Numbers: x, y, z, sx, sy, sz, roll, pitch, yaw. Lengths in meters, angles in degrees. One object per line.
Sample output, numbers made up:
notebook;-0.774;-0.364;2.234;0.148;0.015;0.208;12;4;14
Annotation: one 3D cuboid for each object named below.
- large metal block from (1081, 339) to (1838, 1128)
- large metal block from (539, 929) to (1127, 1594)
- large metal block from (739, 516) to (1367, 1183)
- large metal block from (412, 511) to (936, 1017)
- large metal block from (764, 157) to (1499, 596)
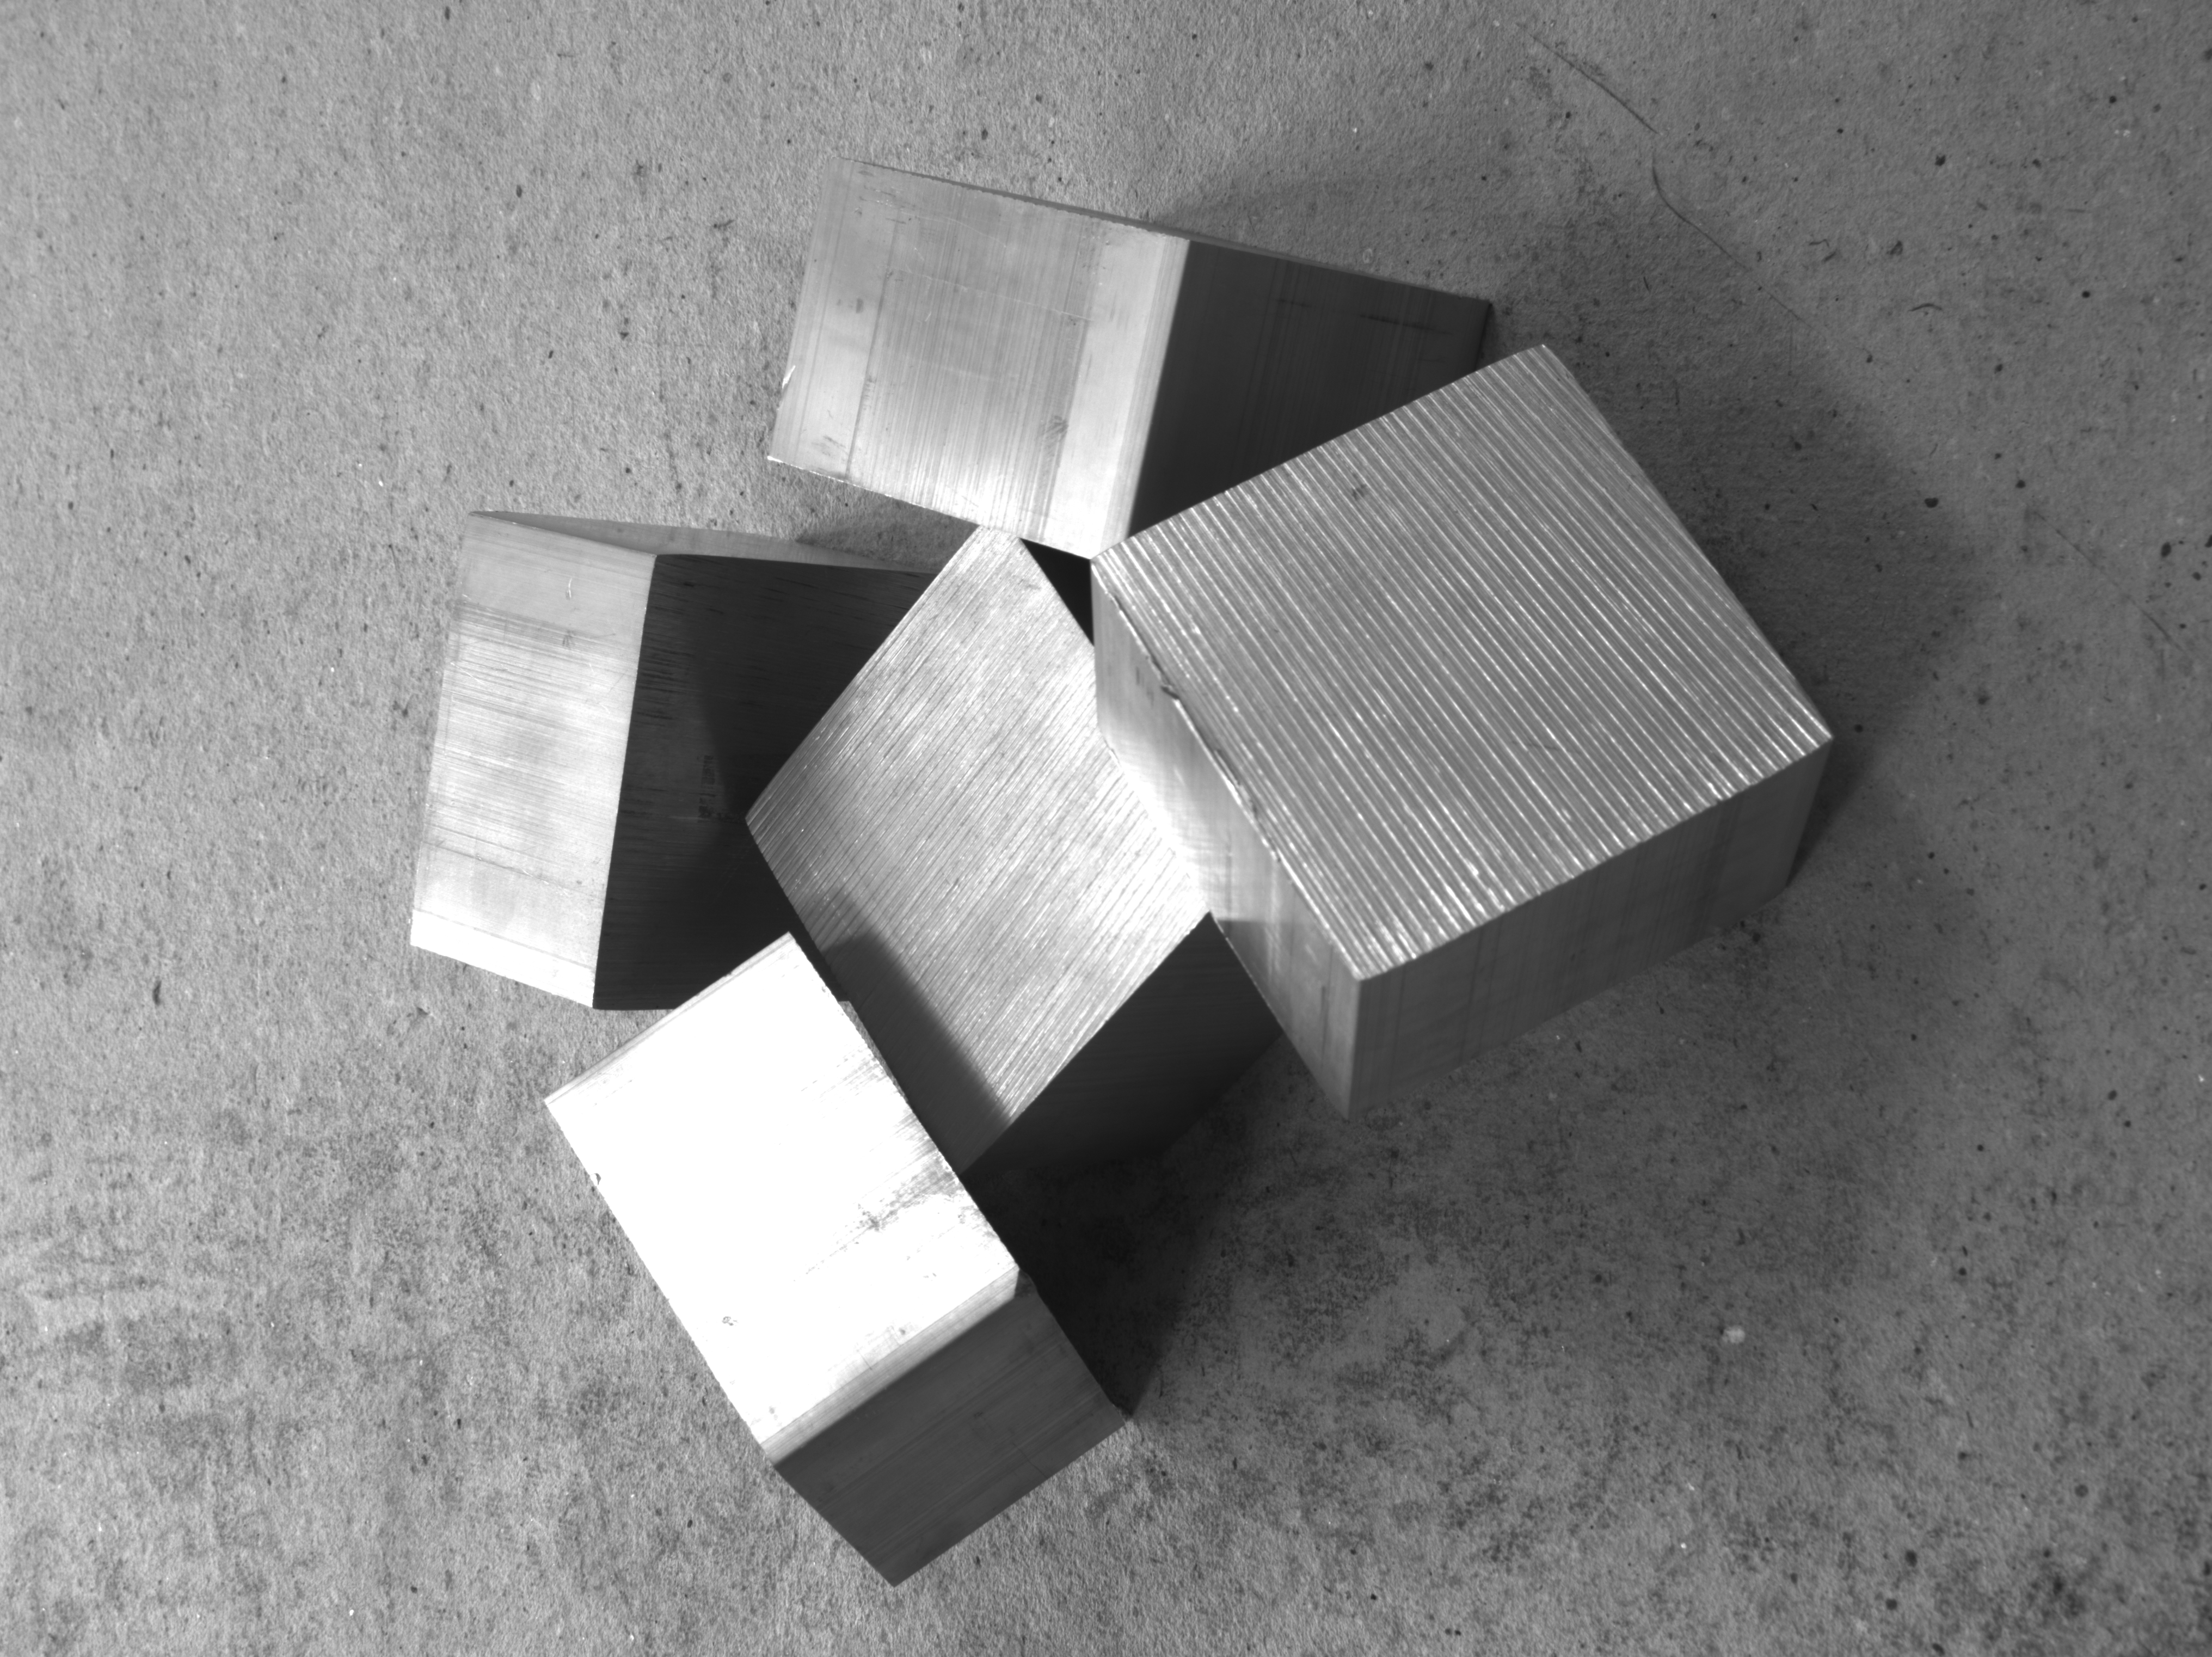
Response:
large metal block;0.051;-0.015;0.558;0.080;0.080;0.050;58;167;24
large metal block;-0.046;0.077;0.640;0.050;0.080;0.080;-34;63;-5
large metal block;-0.005;0.003;0.631;0.080;0.050;0.080;-49;62;29
large metal block;-0.075;-0.012;0.673;0.050;0.080;0.080;15;100;39
large metal block;0.004;-0.073;0.606;0.080;0.080;0.050;20;103;38
